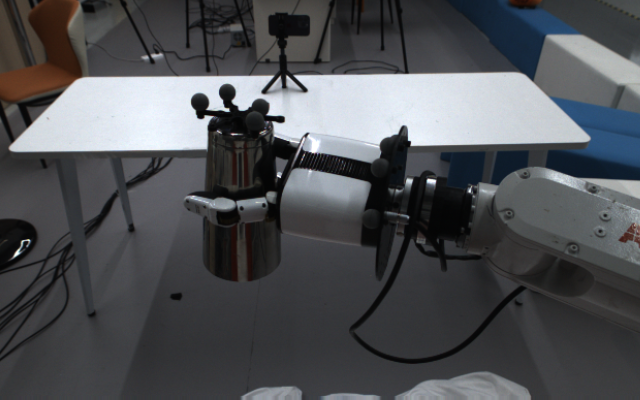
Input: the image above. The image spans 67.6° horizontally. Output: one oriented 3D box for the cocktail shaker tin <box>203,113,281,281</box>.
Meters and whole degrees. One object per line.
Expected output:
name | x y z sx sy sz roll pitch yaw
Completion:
cocktail shaker tin | -0.085 -0.005 0.531 0.093 0.170 0.093 4 32 -2
